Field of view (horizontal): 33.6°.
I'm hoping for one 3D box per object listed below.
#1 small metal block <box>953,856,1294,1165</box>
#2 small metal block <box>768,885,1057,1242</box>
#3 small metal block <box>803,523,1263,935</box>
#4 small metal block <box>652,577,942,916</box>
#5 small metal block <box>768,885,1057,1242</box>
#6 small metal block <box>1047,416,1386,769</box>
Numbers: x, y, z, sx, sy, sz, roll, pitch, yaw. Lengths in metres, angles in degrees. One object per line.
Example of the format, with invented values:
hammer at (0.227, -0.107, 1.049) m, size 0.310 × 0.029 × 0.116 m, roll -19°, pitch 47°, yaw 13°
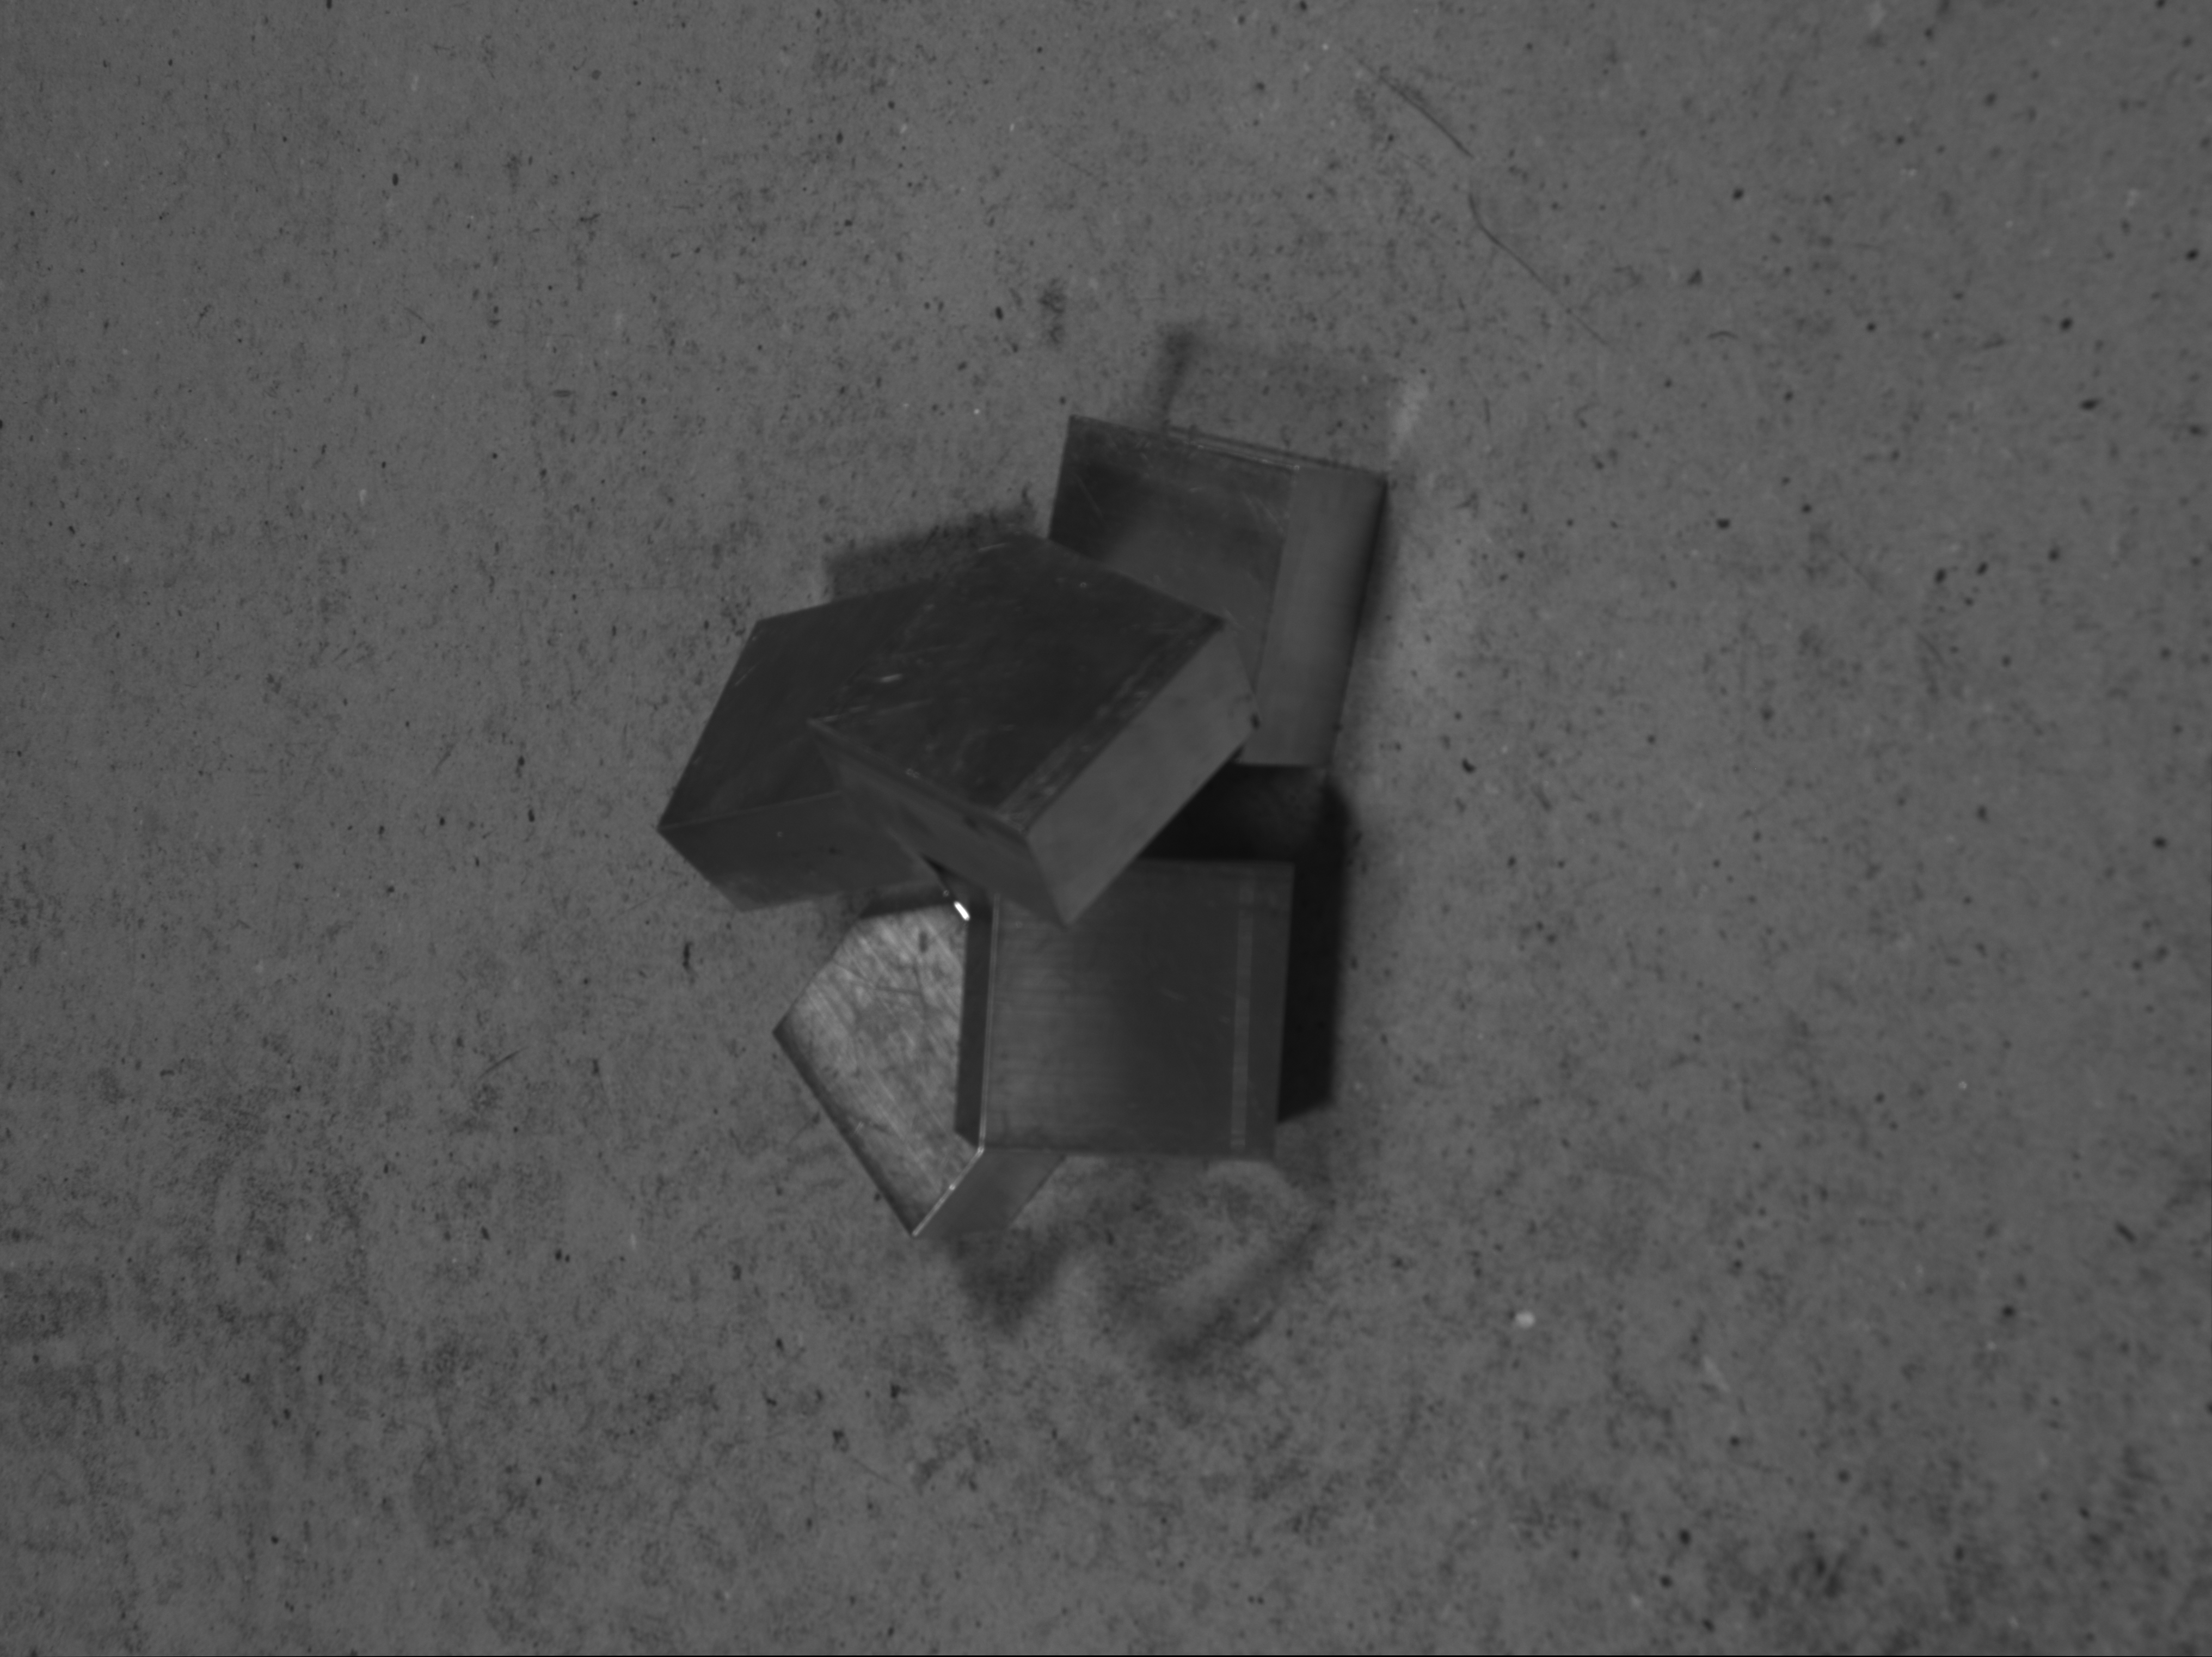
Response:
small metal block at (0.002, 0.029, 0.615) m, size 0.025 × 0.050 × 0.050 m, roll -165°, pitch 79°, yaw -77°
small metal block at (-0.027, 0.038, 0.659) m, size 0.050 × 0.025 × 0.050 m, roll -52°, pitch 60°, yaw 26°
small metal block at (-0.012, -0.017, 0.596) m, size 0.050 × 0.025 × 0.050 m, roll 27°, pitch 63°, yaw 36°
small metal block at (-0.047, -0.015, 0.659) m, size 0.050 × 0.025 × 0.050 m, roll -10°, pitch 46°, yaw 39°
small metal block at (-0.027, 0.038, 0.659) m, size 0.050 × 0.025 × 0.050 m, roll -52°, pitch 60°, yaw 27°
small metal block at (0.016, -0.040, 0.624) m, size 0.050 × 0.025 × 0.050 m, roll 18°, pitch 101°, yaw 38°
